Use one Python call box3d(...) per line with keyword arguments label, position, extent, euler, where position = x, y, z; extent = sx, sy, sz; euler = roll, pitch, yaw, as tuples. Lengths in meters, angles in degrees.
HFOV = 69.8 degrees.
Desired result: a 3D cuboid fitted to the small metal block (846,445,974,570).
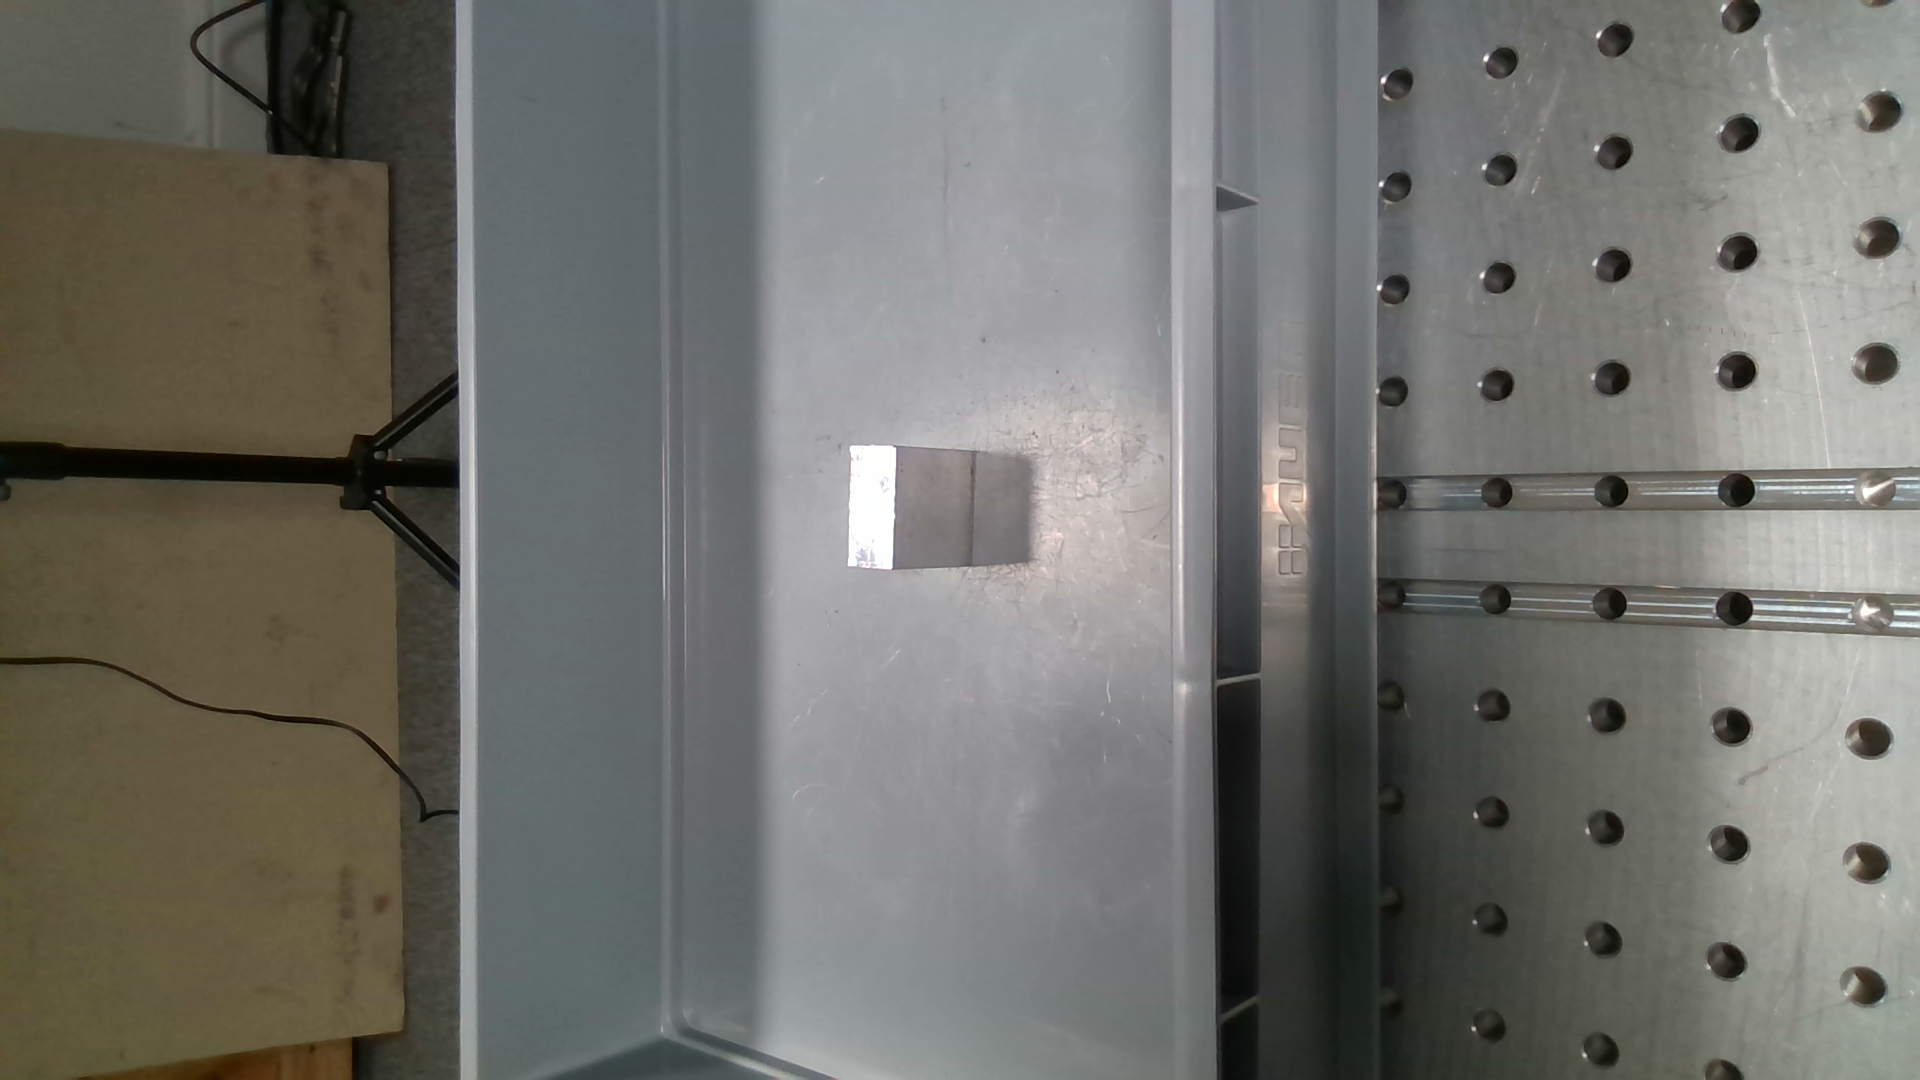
box3d(label="small metal block", position=(-0.021, -0.014, 0.579), extent=(0.025, 0.050, 0.050), euler=(4, 93, 40))
